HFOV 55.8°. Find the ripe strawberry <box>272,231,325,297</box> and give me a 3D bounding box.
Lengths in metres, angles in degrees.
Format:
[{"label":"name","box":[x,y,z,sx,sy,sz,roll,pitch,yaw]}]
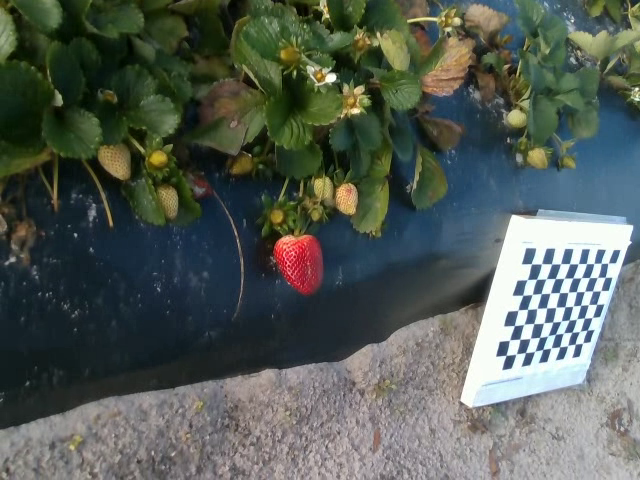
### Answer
[{"label":"ripe strawberry","box":[-0.019,0.026,0.619,0.052,0.068,0.044,-3,-23,-36]}]
